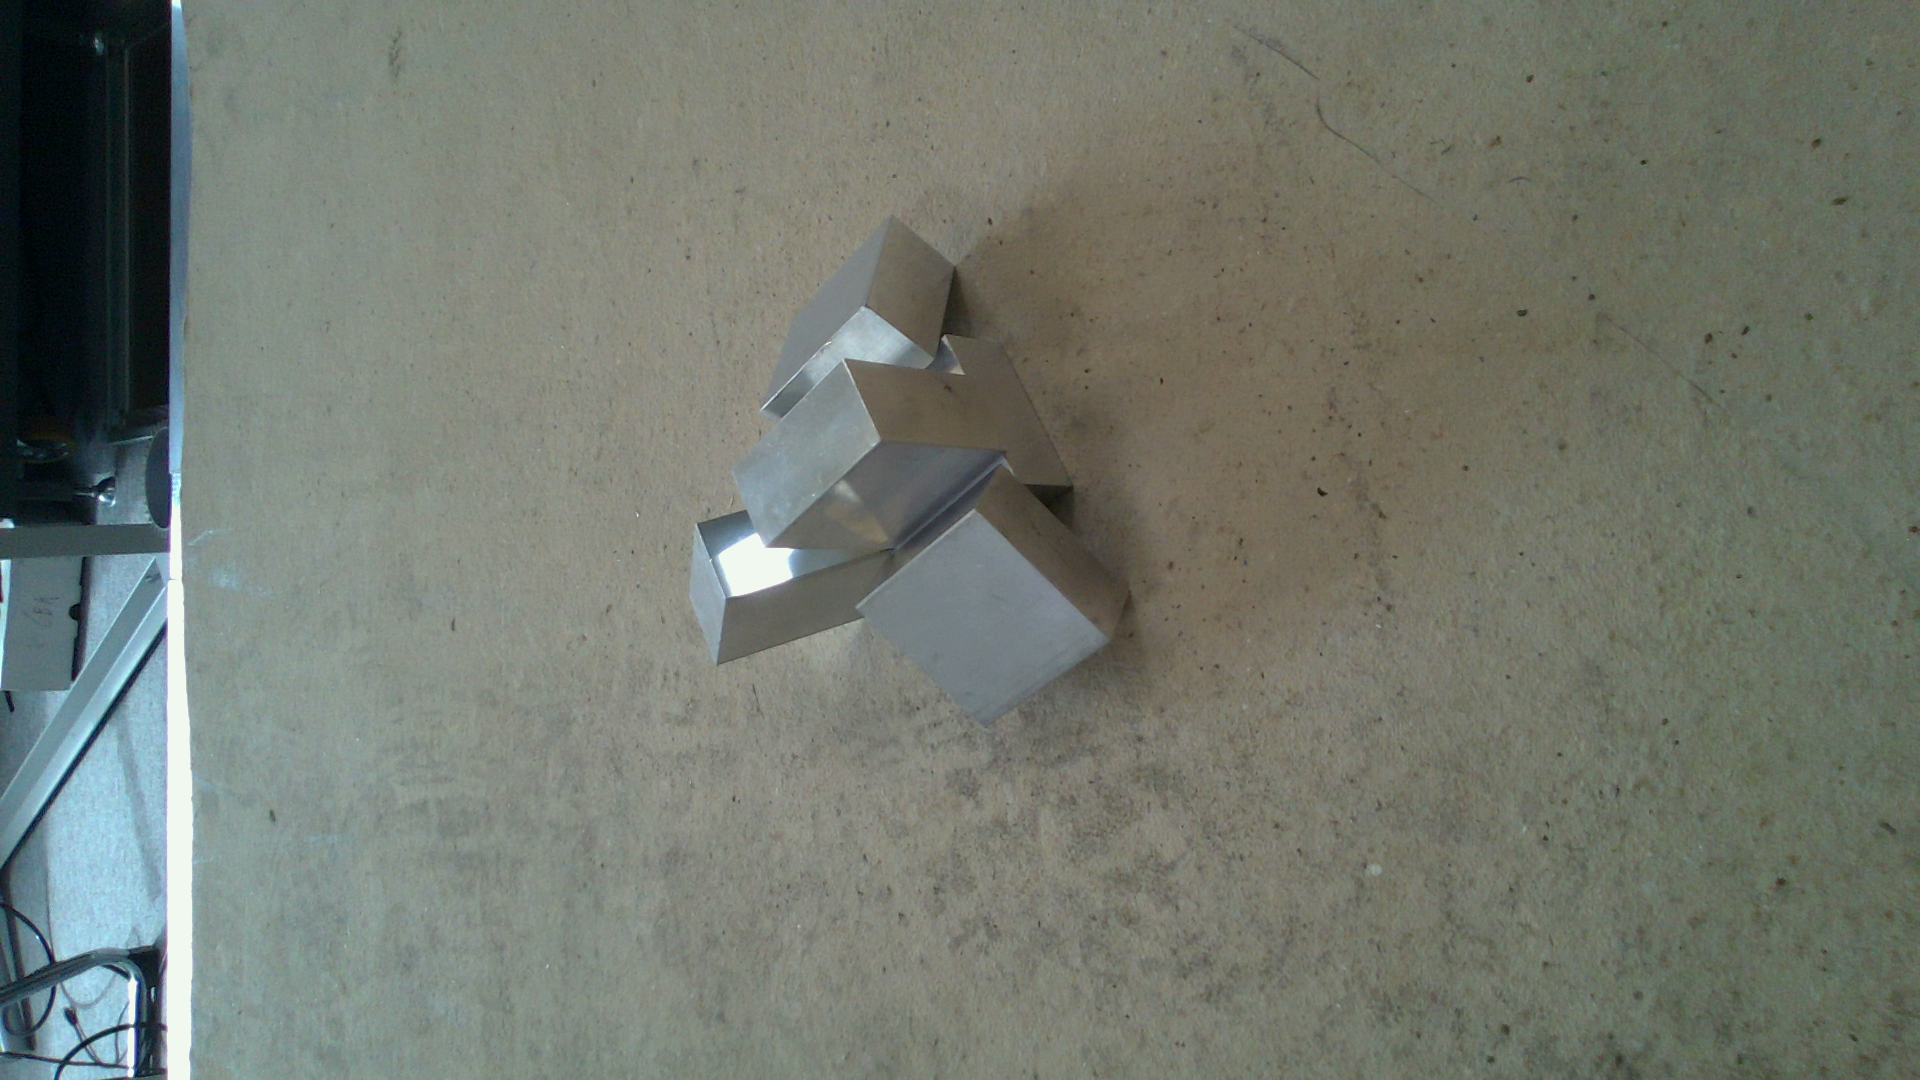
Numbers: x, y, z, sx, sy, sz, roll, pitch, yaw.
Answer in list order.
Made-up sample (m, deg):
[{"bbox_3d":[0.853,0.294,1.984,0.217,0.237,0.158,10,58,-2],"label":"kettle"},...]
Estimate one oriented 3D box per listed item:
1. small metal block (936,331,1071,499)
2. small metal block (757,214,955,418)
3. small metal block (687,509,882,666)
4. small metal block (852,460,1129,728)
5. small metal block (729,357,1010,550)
[{"bbox_3d":[-0.003,-0.024,0.398,0.050,0.025,0.050,-40,65,36],"label":"small metal block"},{"bbox_3d":[-0.030,-0.059,0.404,0.050,0.025,0.050,-39,26,34],"label":"small metal block"},{"bbox_3d":[-0.052,0.010,0.411,0.025,0.050,0.050,65,158,19],"label":"small metal block"},{"bbox_3d":[0.008,0.015,0.372,0.050,0.025,0.050,44,124,-10],"label":"small metal block"},{"bbox_3d":[-0.024,-0.021,0.366,0.050,0.050,0.025,-39,66,33],"label":"small metal block"}]
